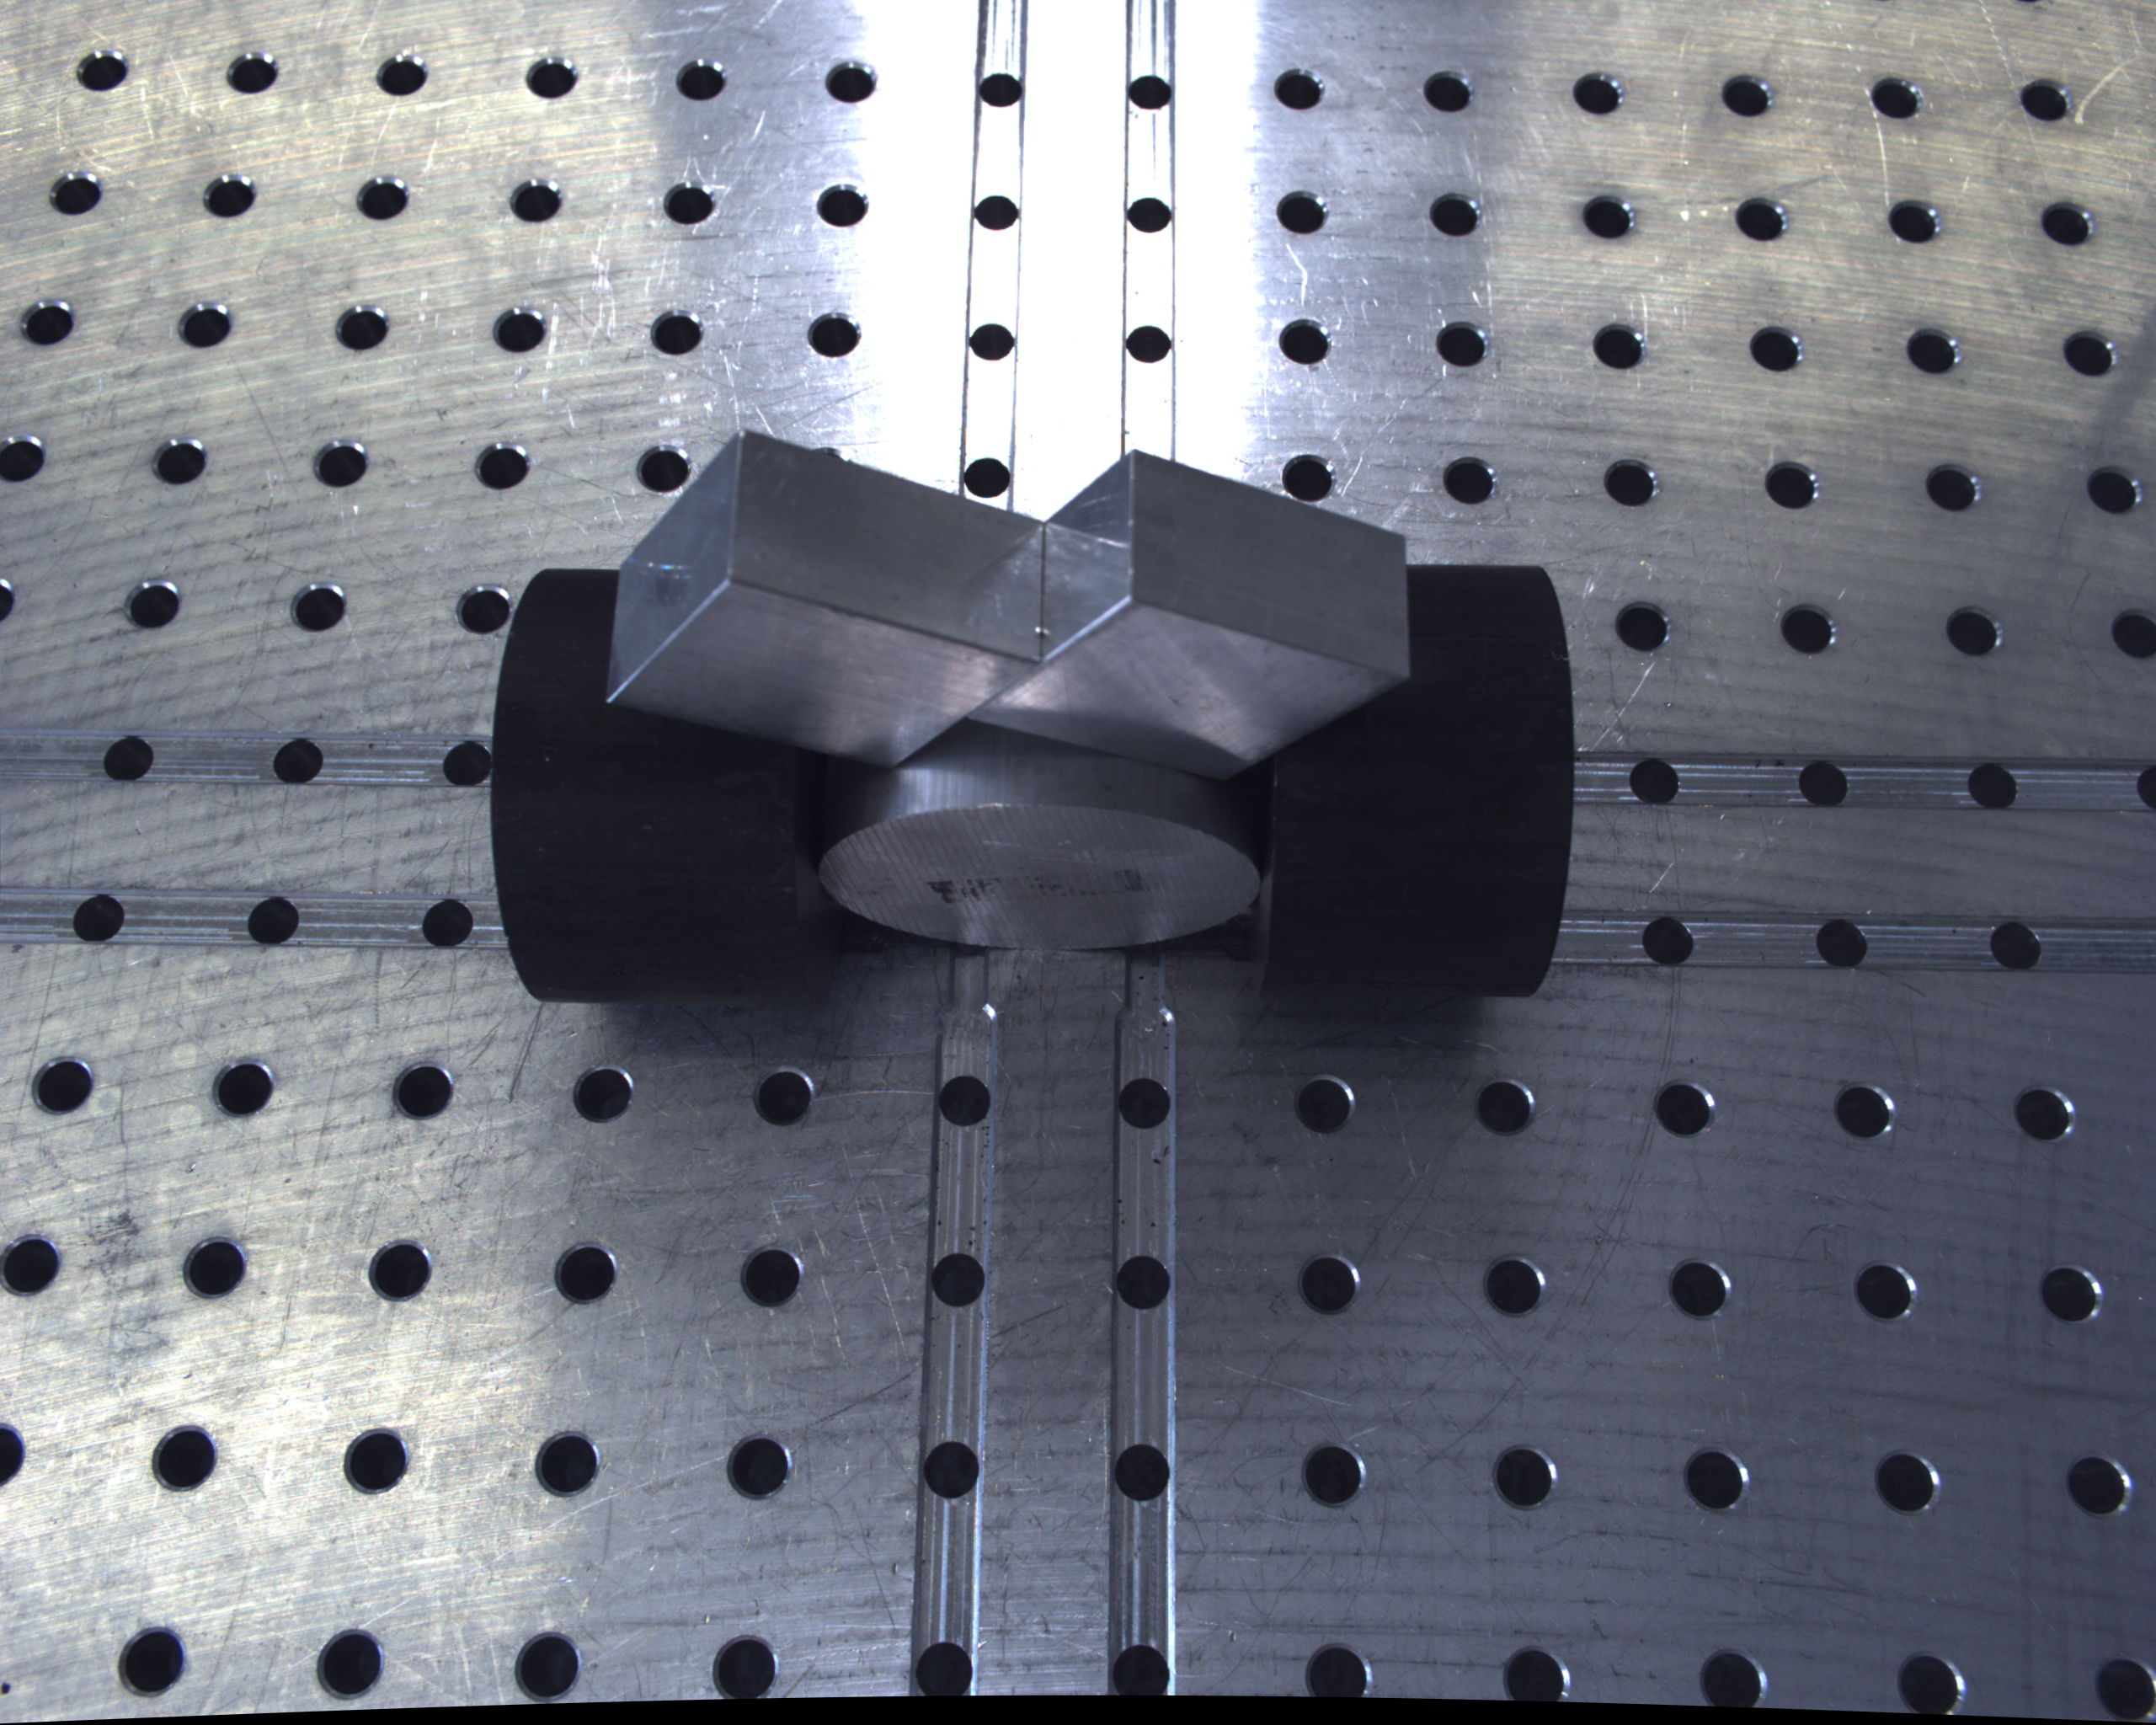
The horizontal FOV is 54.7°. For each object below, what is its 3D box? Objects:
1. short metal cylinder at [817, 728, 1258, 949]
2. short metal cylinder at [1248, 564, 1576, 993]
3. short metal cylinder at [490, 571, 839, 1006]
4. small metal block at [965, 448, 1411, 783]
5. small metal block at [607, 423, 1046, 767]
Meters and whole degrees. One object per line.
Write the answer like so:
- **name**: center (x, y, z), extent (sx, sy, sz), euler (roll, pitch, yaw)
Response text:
- **short metal cylinder**: center (-0.007, -0.019, 0.389), extent (0.081, 0.080, 0.050), euler (1, 70, 0)
- **short metal cylinder**: center (0.059, -0.015, 0.388), extent (0.050, 0.080, 0.080), euler (0, 70, 1)
- **short metal cylinder**: center (-0.072, -0.014, 0.386), extent (0.050, 0.080, 0.080), euler (1, 70, 1)
- **small metal block**: center (0.017, -0.037, 0.330), extent (0.050, 0.050, 0.025), euler (12, 67, -29)
- **small metal block**: center (-0.040, -0.040, 0.326), extent (0.050, 0.050, 0.025), euler (12, 67, -29)
